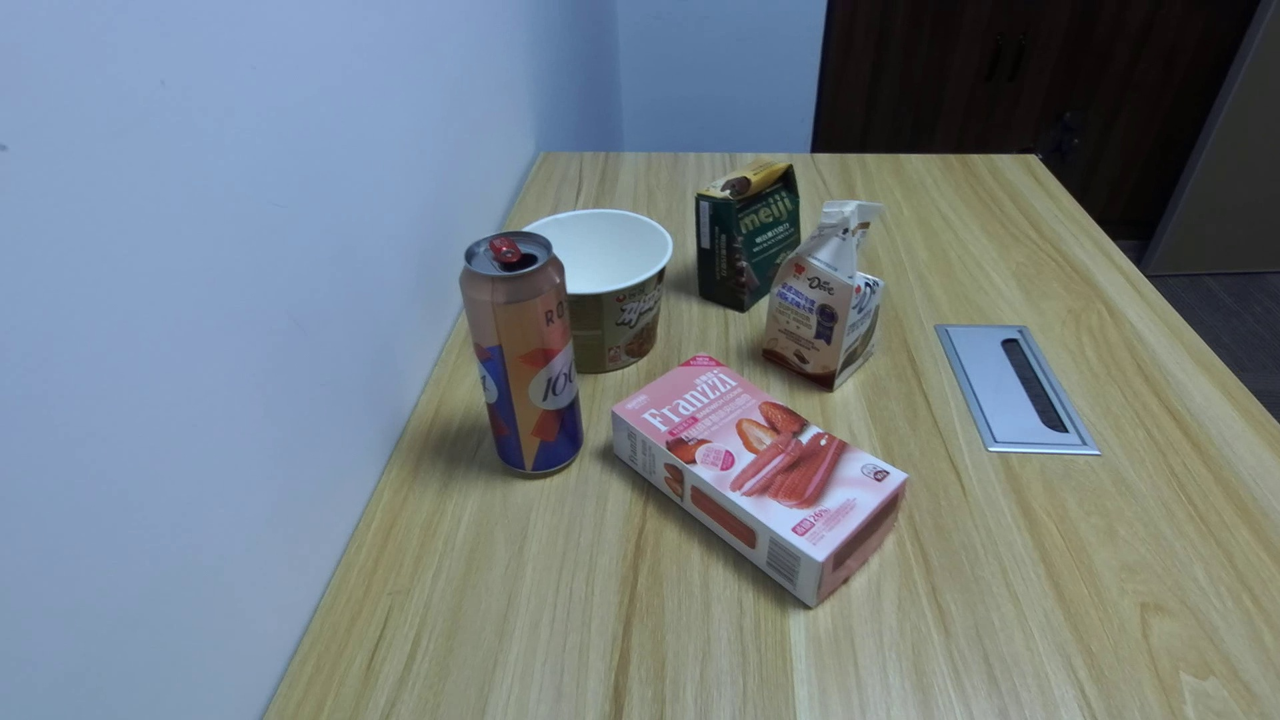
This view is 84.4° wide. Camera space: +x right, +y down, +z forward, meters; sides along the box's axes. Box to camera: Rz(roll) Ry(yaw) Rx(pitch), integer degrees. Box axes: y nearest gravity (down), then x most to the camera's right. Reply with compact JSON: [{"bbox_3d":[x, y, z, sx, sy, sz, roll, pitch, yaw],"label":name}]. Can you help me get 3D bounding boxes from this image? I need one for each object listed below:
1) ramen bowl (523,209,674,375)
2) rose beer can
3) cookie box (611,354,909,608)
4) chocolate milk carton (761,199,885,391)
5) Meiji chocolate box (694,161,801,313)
[{"bbox_3d":[-0.041,-0.058,0.619,0.140,0.095,0.140,0,39,1],"label":"ramen bowl"},{"bbox_3d":[-0.078,0.001,0.488,0.068,0.169,0.068,-1,36,1],"label":"rose beer can"},{"bbox_3d":[0.079,0.070,0.486,0.105,0.049,0.186,-31,47,-32],"label":"cookie box"},{"bbox_3d":[0.153,-0.063,0.564,0.073,0.156,0.076,29,46,32],"label":"chocolate milk carton"},{"bbox_3d":[0.107,-0.124,0.679,0.051,0.117,0.117,18,40,38],"label":"Meiji chocolate box"}]
